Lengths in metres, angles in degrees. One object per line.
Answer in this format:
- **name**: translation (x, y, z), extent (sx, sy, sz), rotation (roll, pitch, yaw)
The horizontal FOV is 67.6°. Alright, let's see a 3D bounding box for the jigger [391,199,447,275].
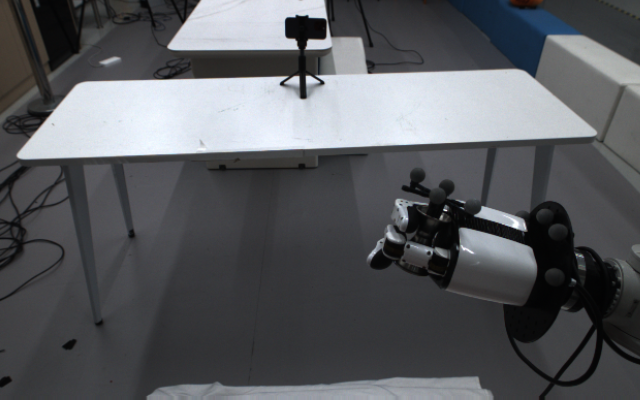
- **jigger**: translation (0.115, 0.045, 0.540), extent (0.043, 0.071, 0.043), rotation (18, 17, -6)
